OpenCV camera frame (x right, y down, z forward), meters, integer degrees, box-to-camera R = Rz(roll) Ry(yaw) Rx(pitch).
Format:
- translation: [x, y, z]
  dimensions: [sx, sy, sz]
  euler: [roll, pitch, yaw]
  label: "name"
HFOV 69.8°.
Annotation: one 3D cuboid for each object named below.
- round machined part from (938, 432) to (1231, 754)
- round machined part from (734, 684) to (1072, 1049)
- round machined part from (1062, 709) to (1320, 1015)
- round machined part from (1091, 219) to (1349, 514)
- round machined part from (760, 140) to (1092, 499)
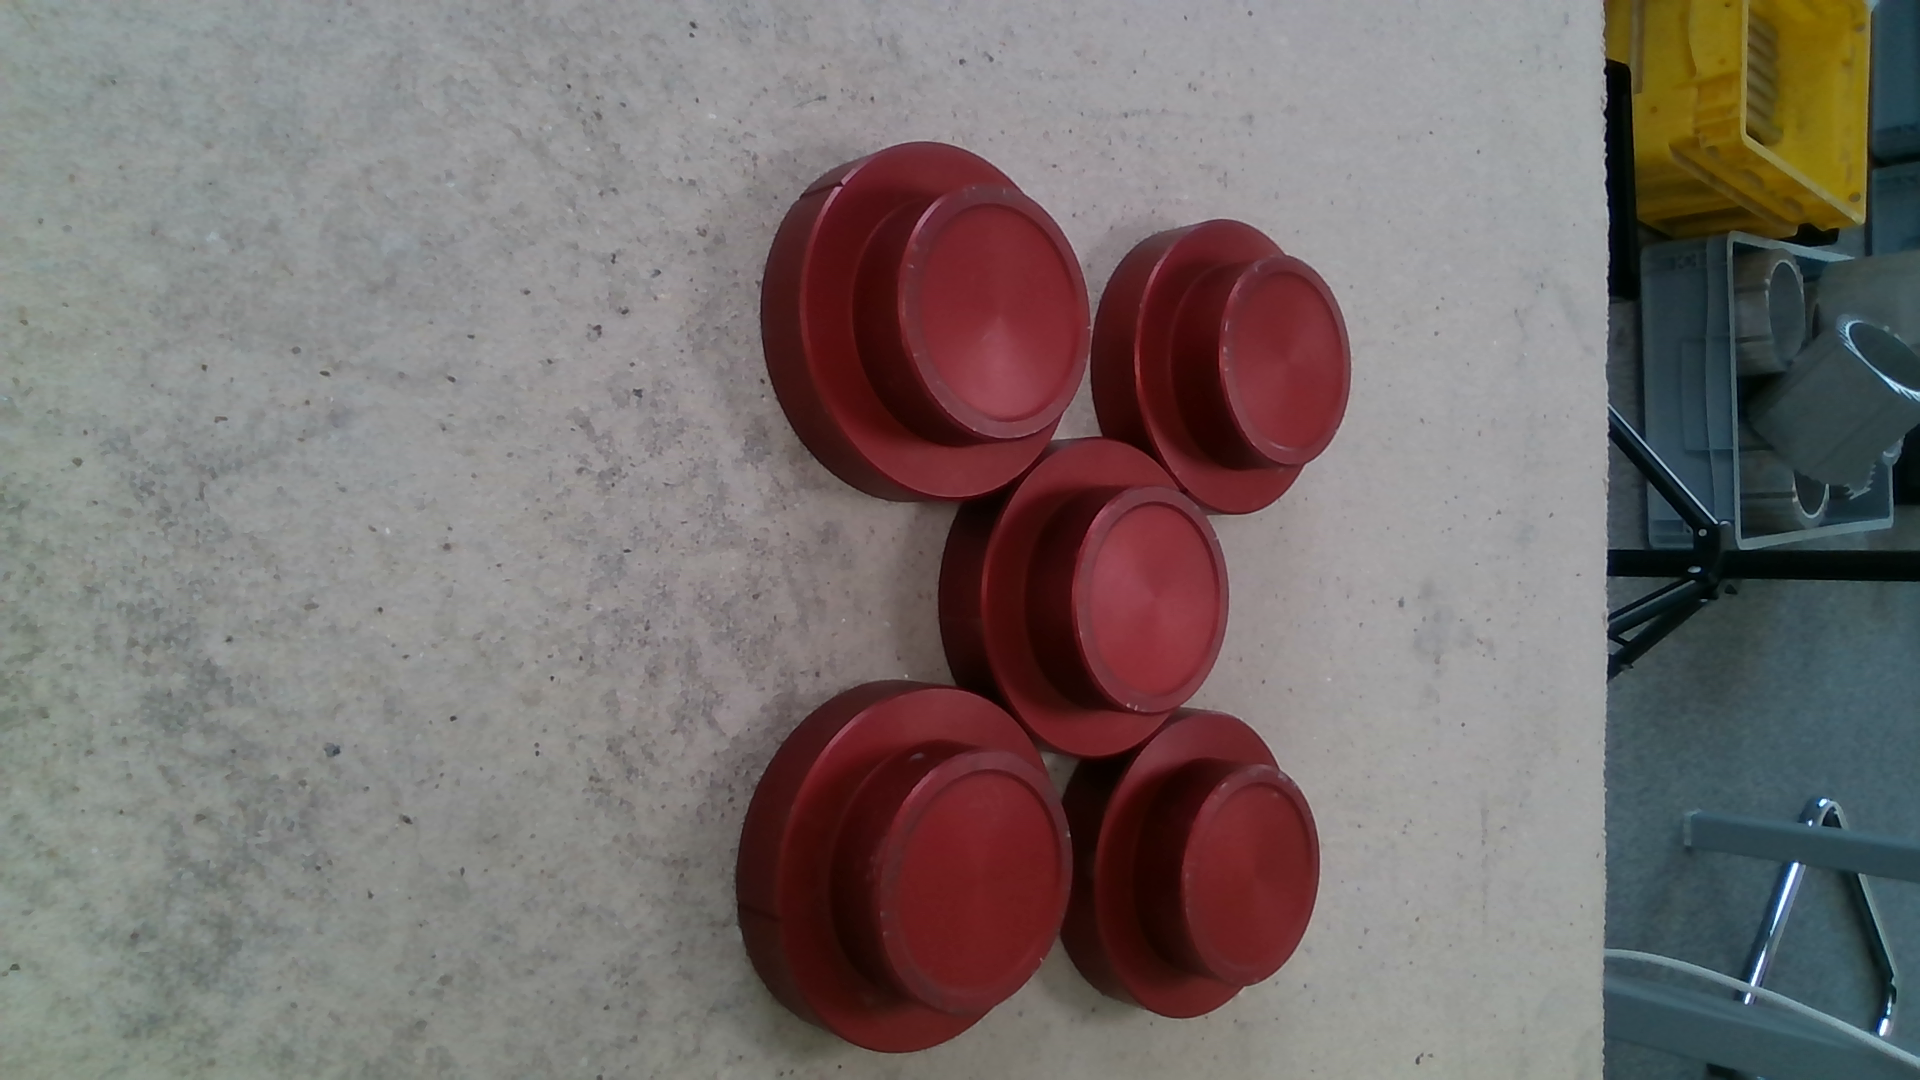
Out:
- translation: [0.044, 0.016, 0.418]
  dimensions: [0.098, 0.042, 0.098]
  euler: [1, 89, -39]
  label: "round machined part"
- translation: [-0.008, 0.088, 0.374]
  dimensions: [0.098, 0.042, 0.098]
  euler: [1, 89, -39]
  label: "round machined part"
- translation: [0.079, 0.104, 0.447]
  dimensions: [0.098, 0.042, 0.098]
  euler: [1, 89, -39]
  label: "round machined part"
- translation: [0.092, -0.057, 0.458]
  dimensions: [0.098, 0.042, 0.098]
  euler: [0, 90, -40]
  label: "round machined part"
- translation: [-0.002, -0.060, 0.378]
  dimensions: [0.098, 0.042, 0.098]
  euler: [0, 91, -39]
  label: "round machined part"
